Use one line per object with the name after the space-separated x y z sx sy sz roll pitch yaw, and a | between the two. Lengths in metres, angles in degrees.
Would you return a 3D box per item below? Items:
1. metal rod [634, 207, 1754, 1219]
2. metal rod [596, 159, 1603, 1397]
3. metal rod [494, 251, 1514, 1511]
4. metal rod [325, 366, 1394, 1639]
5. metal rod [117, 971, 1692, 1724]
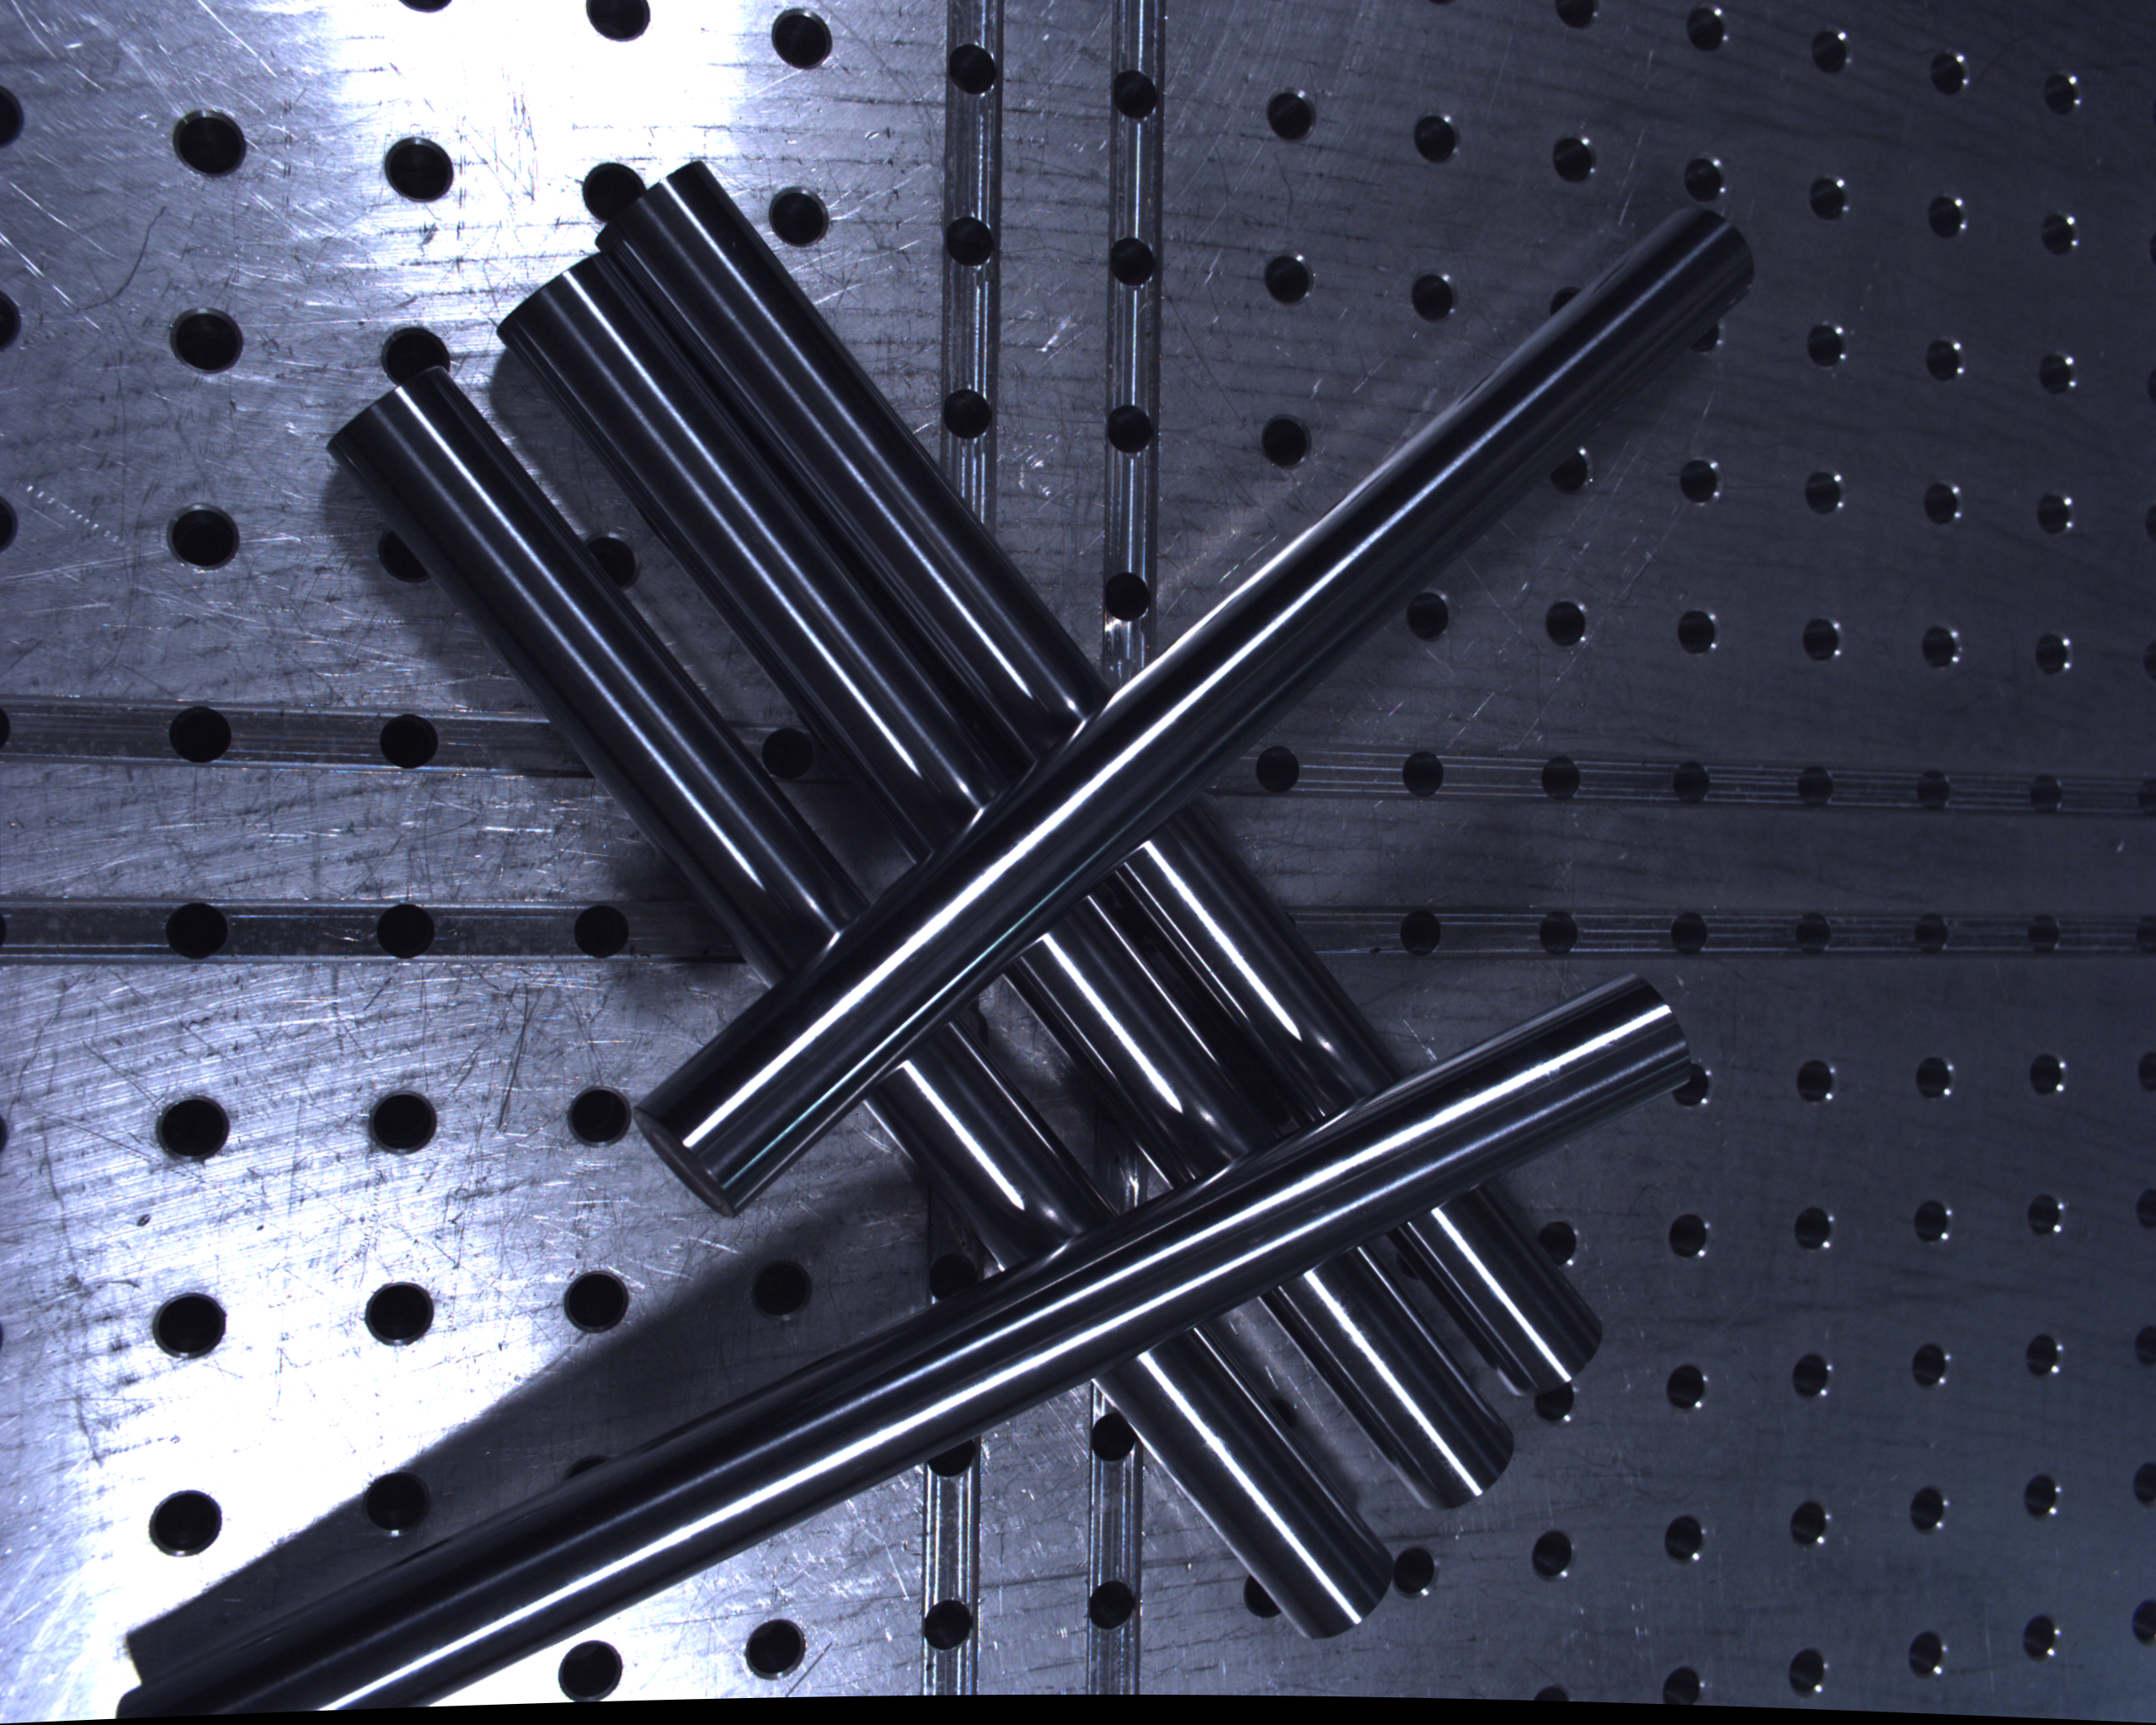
0.037 -0.043 0.406 0.301 0.025 0.025 -42 104 -24 | metal rod
0.012 -0.007 0.418 0.025 0.025 0.300 -42 104 -15 | metal rod
-0.007 0.013 0.411 0.025 0.025 0.300 -41 103 -16 | metal rod
-0.034 0.036 0.401 0.025 0.025 0.300 -41 103 -16 | metal rod
-0.022 0.093 0.383 0.302 0.025 0.025 -24 99 -11 | metal rod
